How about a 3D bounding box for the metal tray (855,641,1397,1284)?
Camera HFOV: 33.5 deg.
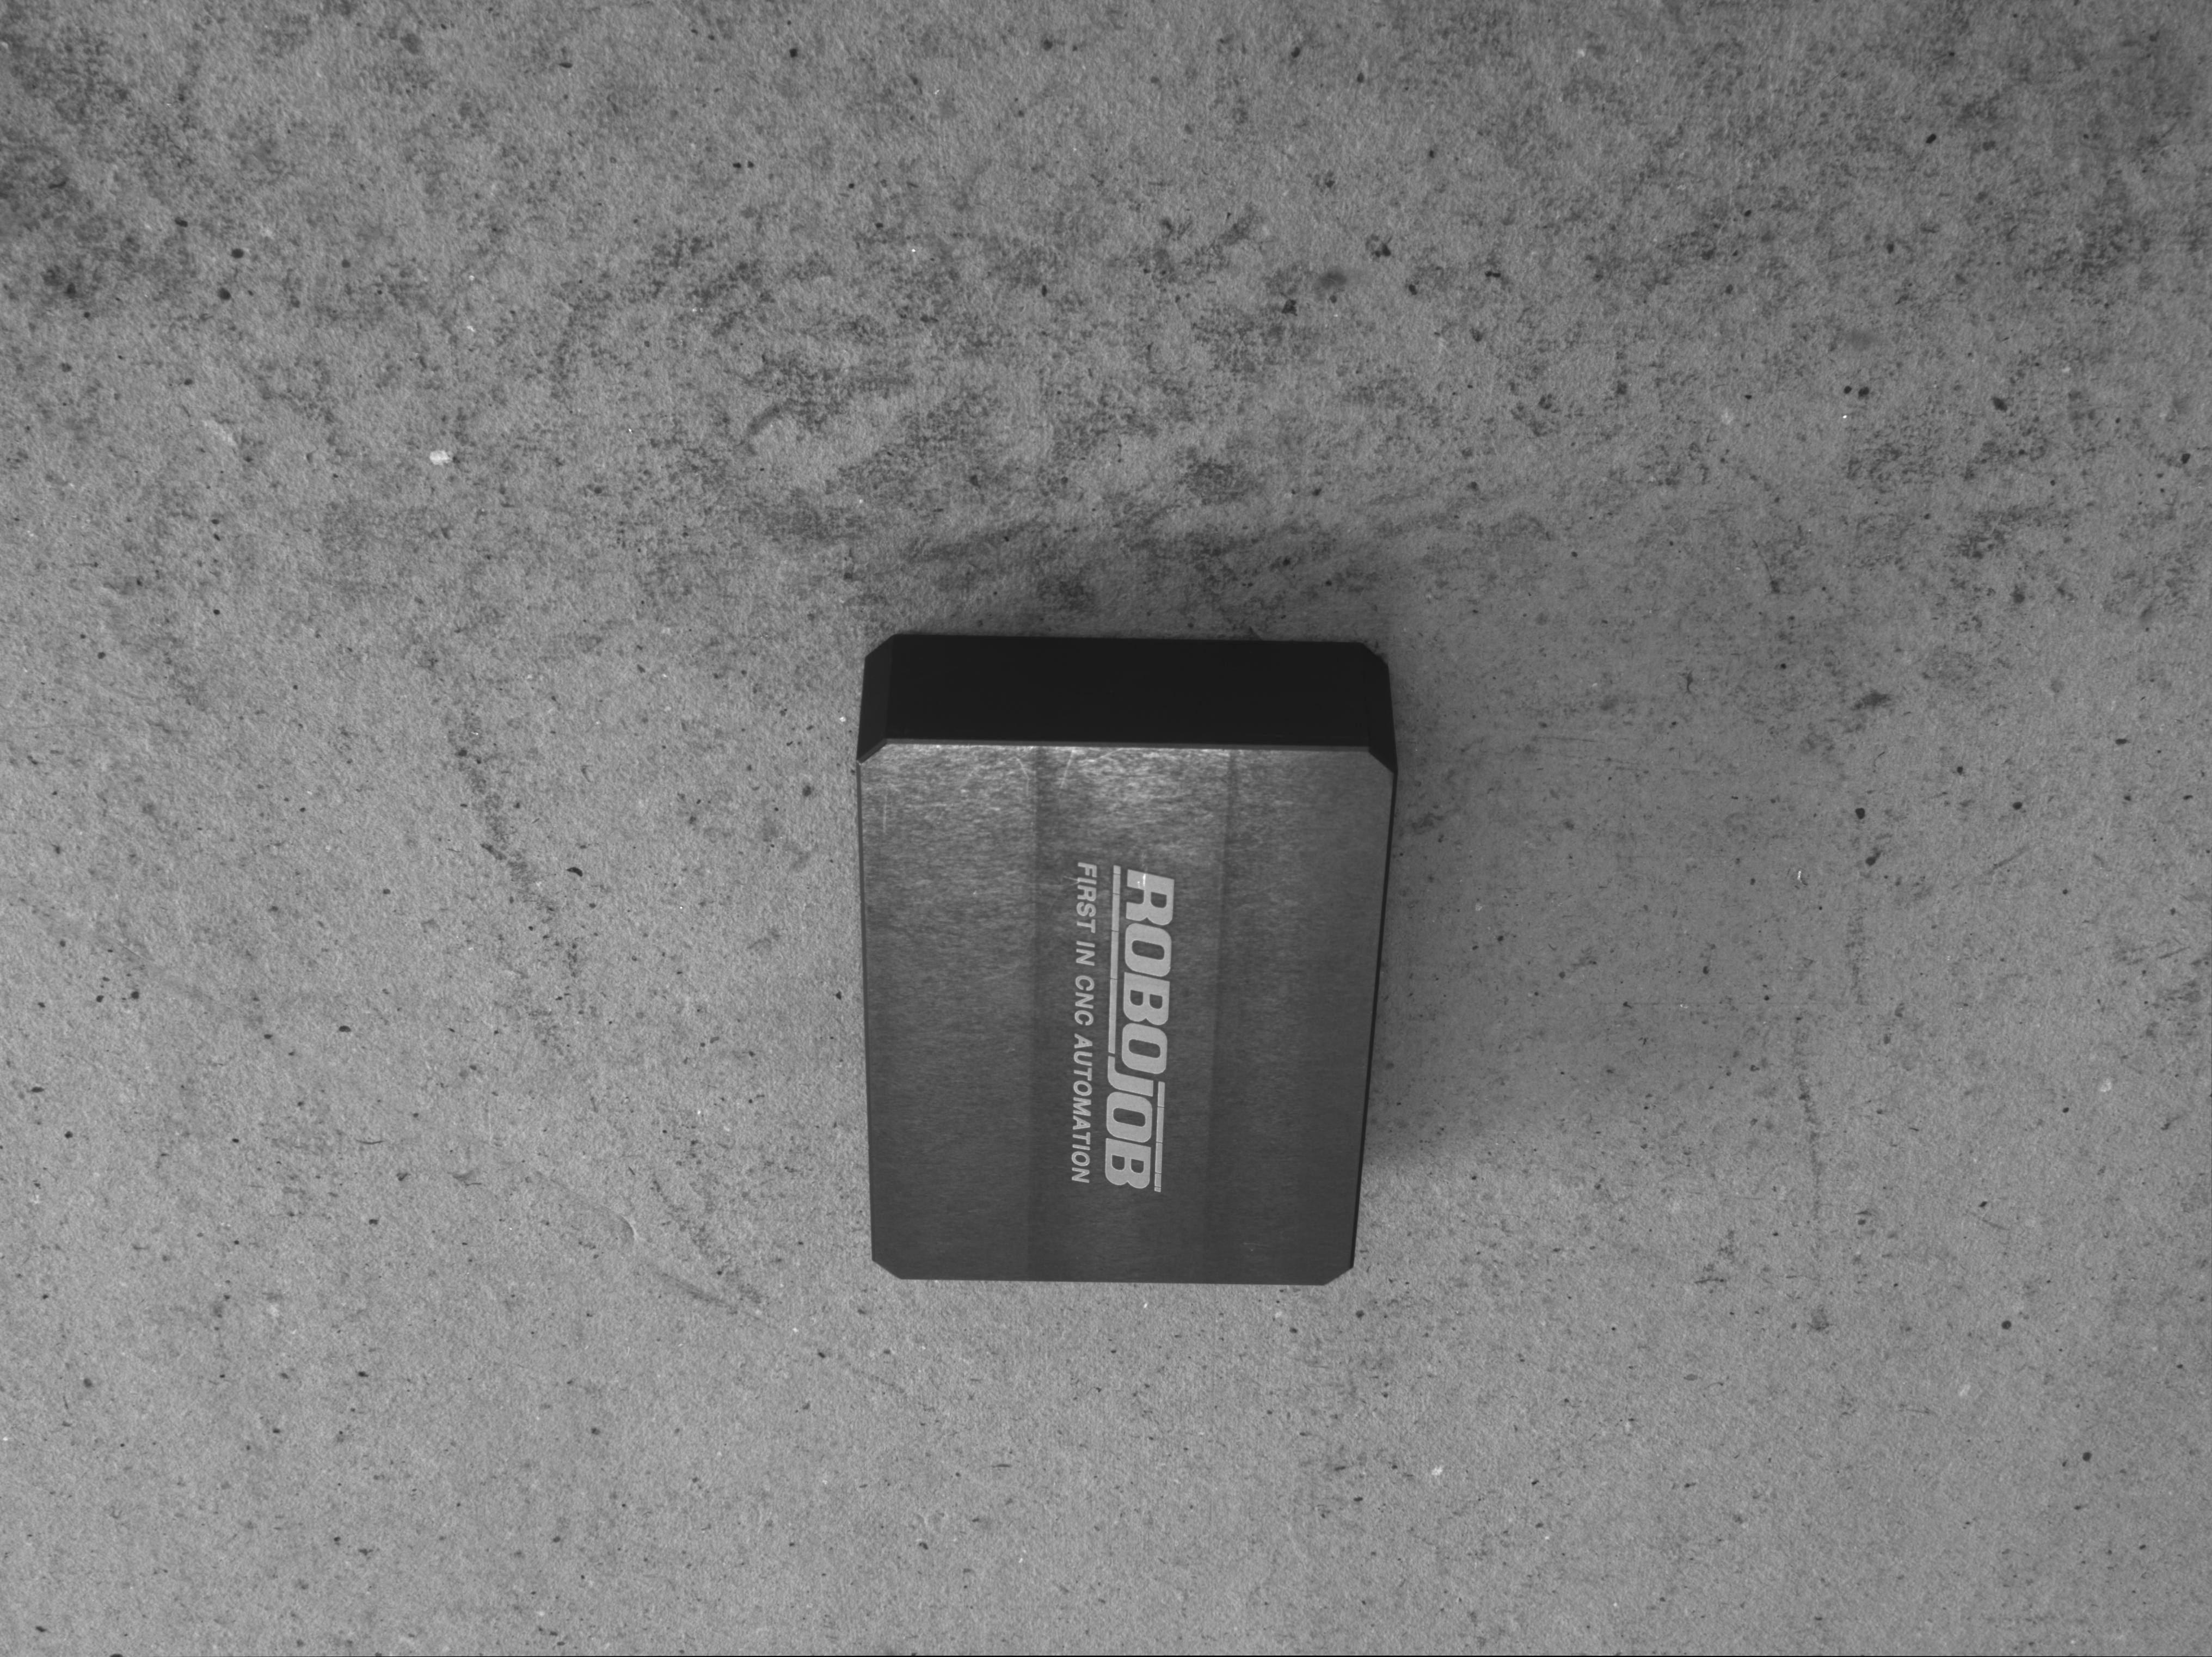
[{"bbox_3d":[0.002,0.027,0.659,0.090,0.030,0.130,0,131,-1],"label":"metal tray"}]
